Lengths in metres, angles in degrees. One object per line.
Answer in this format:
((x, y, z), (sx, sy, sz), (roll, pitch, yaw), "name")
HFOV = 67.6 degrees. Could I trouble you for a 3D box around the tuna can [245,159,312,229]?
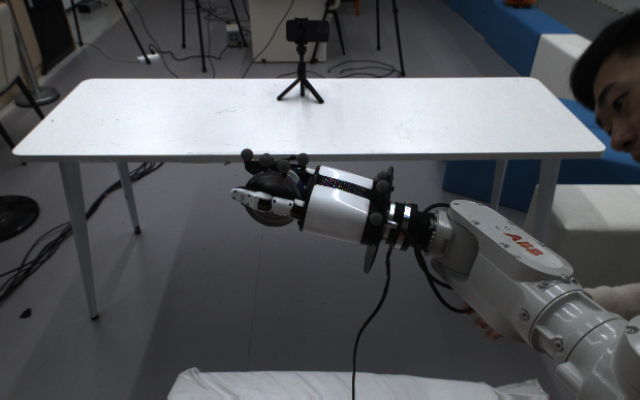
((-0.065, -0.006, 0.698), (0.085, 0.085, 0.034), (6, 22, 6), "tuna can")
